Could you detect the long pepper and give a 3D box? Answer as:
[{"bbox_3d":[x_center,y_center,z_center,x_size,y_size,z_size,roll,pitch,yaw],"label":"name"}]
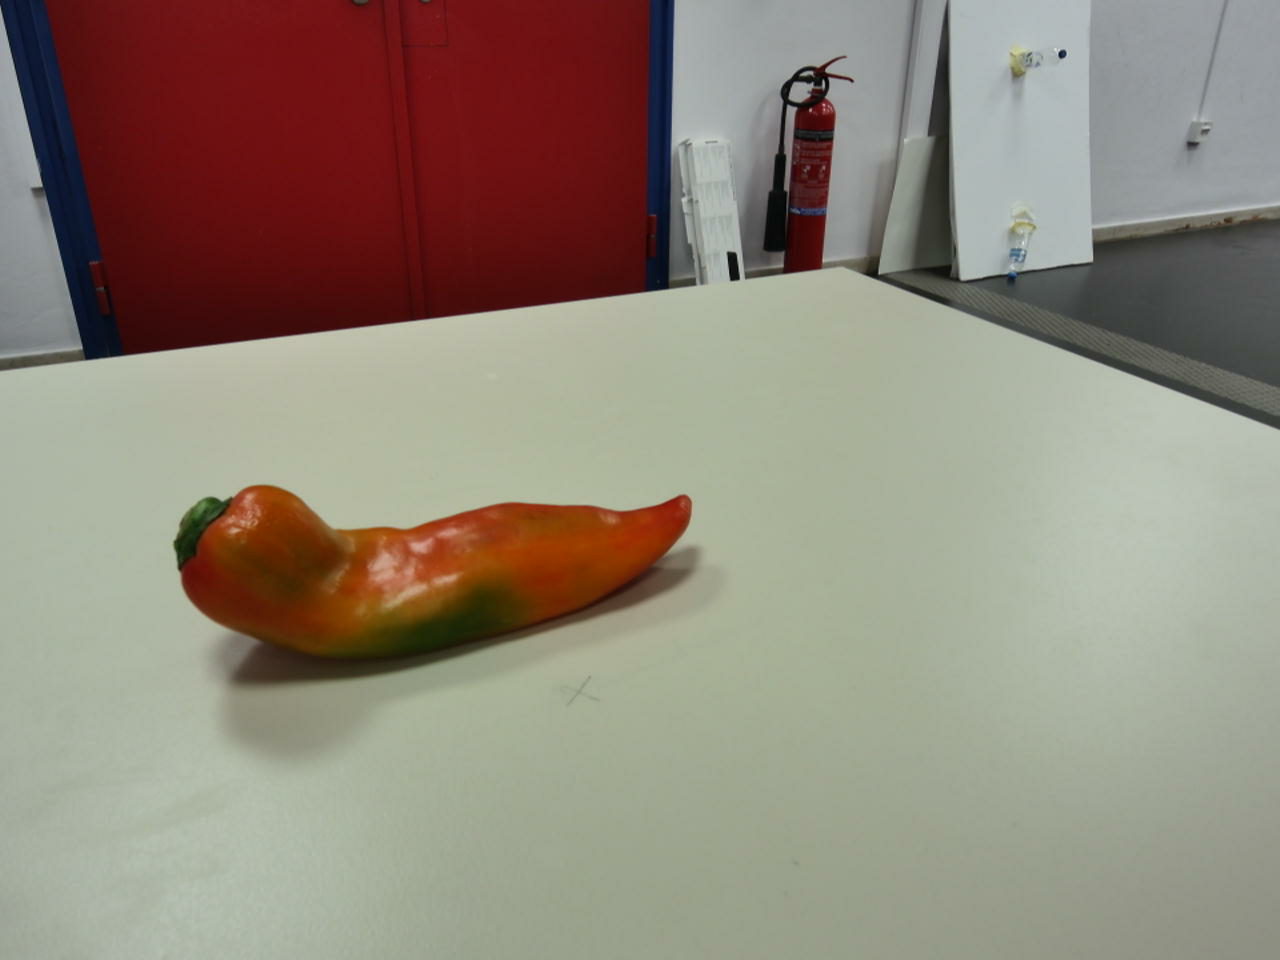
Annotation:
[{"bbox_3d":[-0.069,0.022,0.383,0.199,0.065,0.066,-9,26,-20],"label":"long pepper"}]
